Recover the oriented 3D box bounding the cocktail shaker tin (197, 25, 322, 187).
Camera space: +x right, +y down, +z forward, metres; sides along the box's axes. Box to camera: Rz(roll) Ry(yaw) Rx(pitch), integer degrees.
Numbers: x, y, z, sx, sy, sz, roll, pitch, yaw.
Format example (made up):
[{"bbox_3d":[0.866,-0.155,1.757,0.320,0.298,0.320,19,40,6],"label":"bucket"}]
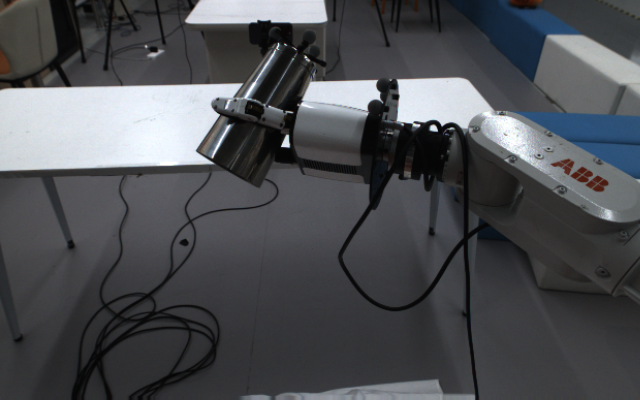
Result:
[{"bbox_3d":[-0.077,-0.113,0.621,0.093,0.093,0.170,26,83,30],"label":"cocktail shaker tin"}]
